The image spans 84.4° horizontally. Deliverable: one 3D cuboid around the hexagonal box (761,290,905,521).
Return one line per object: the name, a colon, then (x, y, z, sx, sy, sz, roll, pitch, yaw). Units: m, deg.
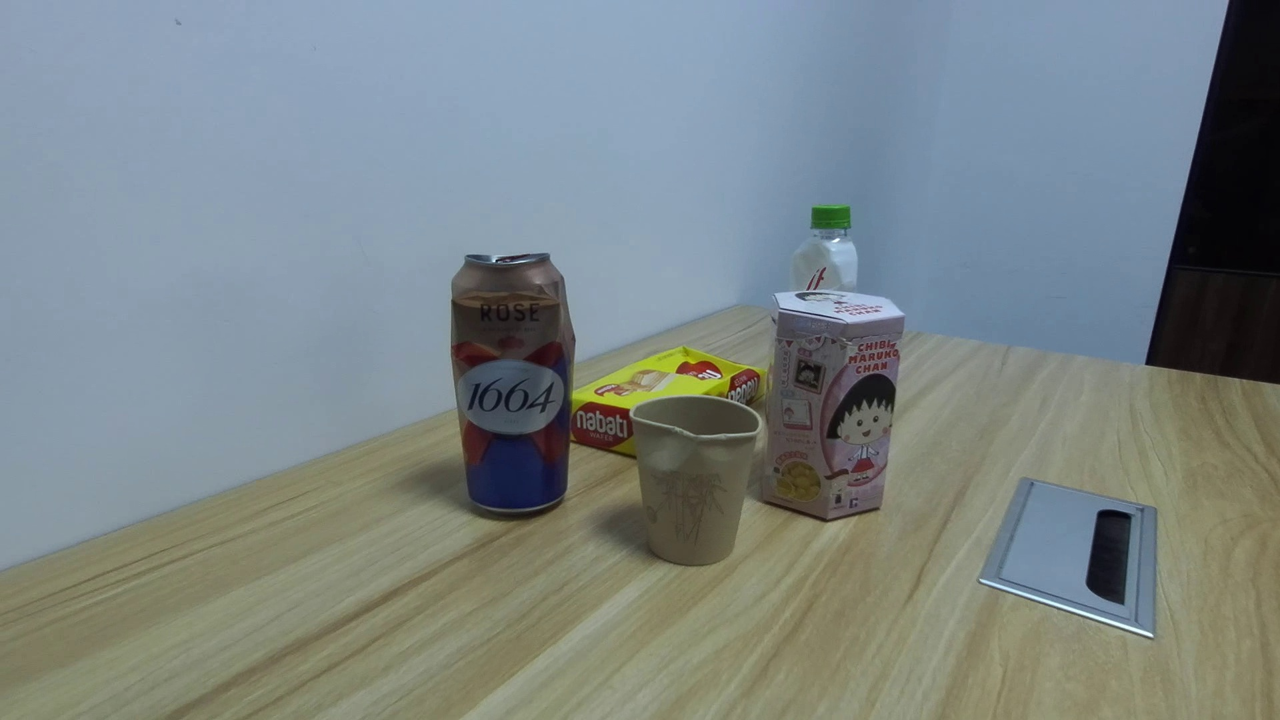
hexagonal box: (0.127, 0.028, 0.475, 0.091, 0.136, 0.083, -7, 19, -24)

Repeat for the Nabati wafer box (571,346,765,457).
Nabati wafer box: (0.033, 0.030, 0.636, 0.096, 0.042, 0.204, 8, 19, 33)

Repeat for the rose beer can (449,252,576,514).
rose beer can: (-0.081, 0.015, 0.463, 0.075, 0.167, 0.065, 2, 15, 10)

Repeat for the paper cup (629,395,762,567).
paper cup: (0.031, 0.070, 0.419, 0.074, 0.081, 0.068, -4, 17, -18)

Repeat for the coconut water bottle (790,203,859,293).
coconut water bottle: (0.152, -0.034, 0.584, 0.067, 0.186, 0.067, 3, 8, 0)
